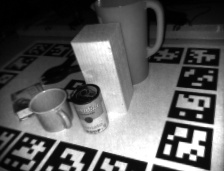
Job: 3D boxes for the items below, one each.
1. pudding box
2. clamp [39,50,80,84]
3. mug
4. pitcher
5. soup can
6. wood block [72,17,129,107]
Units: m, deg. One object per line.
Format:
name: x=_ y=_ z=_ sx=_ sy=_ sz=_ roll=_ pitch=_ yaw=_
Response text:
pudding box: x=-0.251 y=0.039 z=0.641 sx=0.090 sy=0.039 sz=0.112 roll=-32 pitch=41 yaw=-16
clamp: x=-0.175 y=-0.060 z=0.747 sx=0.166 sy=0.037 sz=0.120 roll=-36 pitch=51 yaw=-25
mug: x=-0.142 y=0.060 z=0.541 sx=0.094 sy=0.082 sz=0.115 roll=-29 pitch=39 yaw=-21
pitcher: x=0.044 y=-0.140 z=0.602 sx=0.187 sy=0.245 sz=0.133 roll=1 pitch=39 yaw=24
soup can: x=-0.052 y=0.045 z=0.514 sx=0.067 sy=0.103 sz=0.067 roll=-9 pitch=41 yaw=9
wood block: x=-0.017 y=-0.052 z=0.537 sx=0.089 sy=0.208 sz=0.091 roll=4 pitch=42 yaw=18
